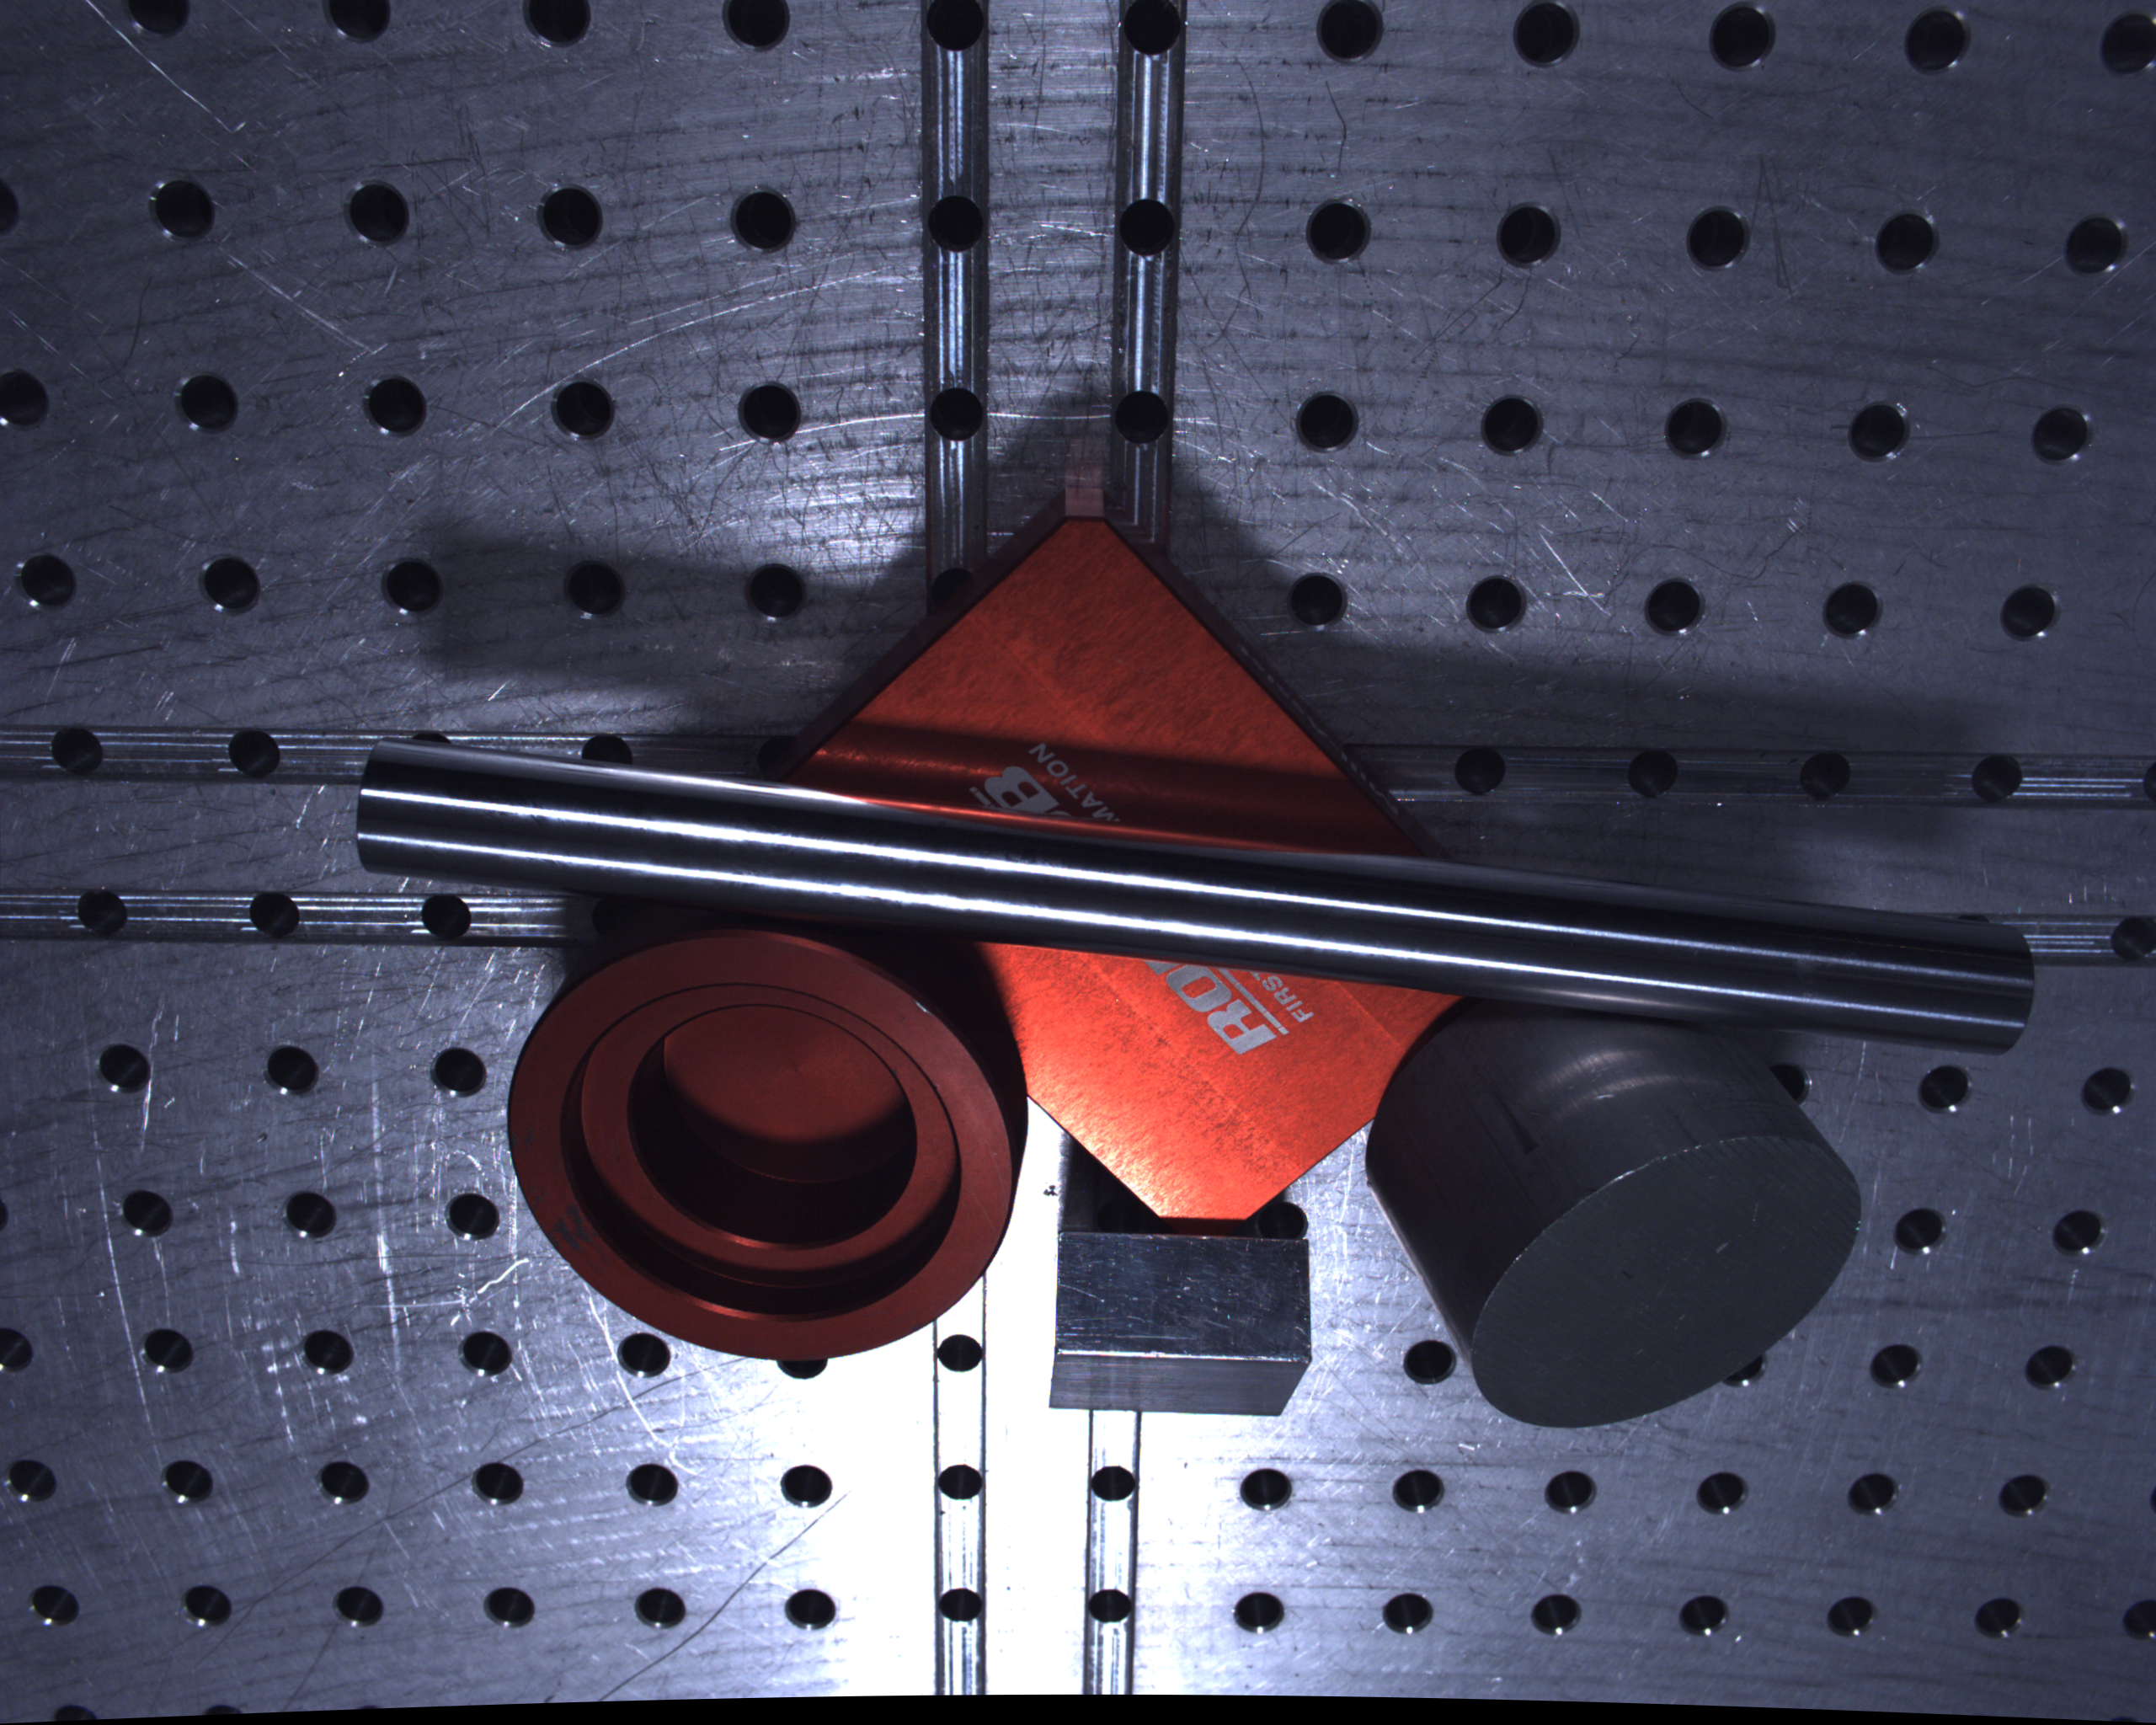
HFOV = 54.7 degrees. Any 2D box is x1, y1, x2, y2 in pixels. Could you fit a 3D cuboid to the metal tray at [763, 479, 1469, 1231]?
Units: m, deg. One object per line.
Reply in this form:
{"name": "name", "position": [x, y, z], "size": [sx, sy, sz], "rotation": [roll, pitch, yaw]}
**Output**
{"name": "metal tray", "position": [0.014, 0.001, 0.413], "size": [0.090, 0.030, 0.130], "rotation": [-42, 106, 13]}

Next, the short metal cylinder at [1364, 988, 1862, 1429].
{"name": "short metal cylinder", "position": [0.103, 0.065, 0.409], "size": [0.081, 0.050, 0.079], "rotation": [-11, 131, -13]}

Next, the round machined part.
{"name": "round machined part", "position": [-0.059, 0.047, 0.416], "size": [0.099, 0.042, 0.097], "rotation": [2, 116, 4]}

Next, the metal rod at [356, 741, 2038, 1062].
{"name": "metal rod", "position": [0.024, 0.008, 0.383], "size": [0.302, 0.025, 0.025], "rotation": [7, 110, -3]}

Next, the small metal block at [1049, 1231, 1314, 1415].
{"name": "small metal block", "position": [0.020, 0.097, 0.435], "size": [0.050, 0.025, 0.050], "rotation": [2, 153, -2]}
